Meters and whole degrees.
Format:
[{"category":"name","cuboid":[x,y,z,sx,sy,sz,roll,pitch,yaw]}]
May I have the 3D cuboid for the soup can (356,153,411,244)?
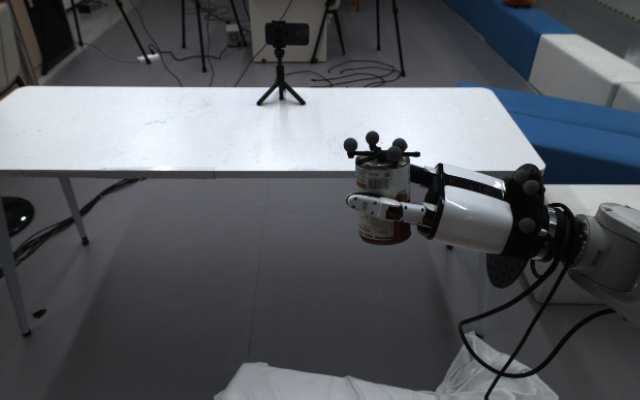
[{"category":"soup can","cuboid":[0.081,-0.004,0.604,0.067,0.101,0.067,-4,21,1]}]
